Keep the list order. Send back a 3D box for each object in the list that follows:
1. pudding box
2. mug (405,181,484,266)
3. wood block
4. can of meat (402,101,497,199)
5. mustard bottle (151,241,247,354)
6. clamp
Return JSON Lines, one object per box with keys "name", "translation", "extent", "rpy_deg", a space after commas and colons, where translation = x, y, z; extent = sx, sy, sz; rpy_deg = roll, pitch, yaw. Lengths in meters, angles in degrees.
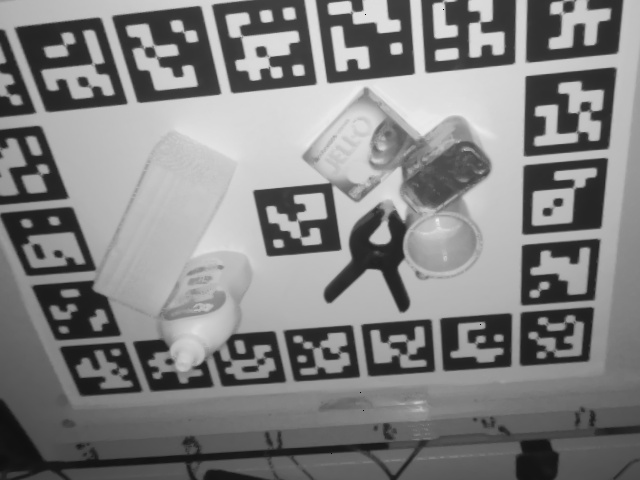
{"name": "pudding box", "translation": [0.044, -0.129, 0.800], "extent": [0.090, 0.039, 0.112], "rpy_deg": [41, 115, -17]}
{"name": "mug", "translation": [0.145, -0.024, 0.854], "extent": [0.093, 0.082, 0.116], "rpy_deg": [16, 117, -5]}
{"name": "wood block", "translation": [-0.199, -0.043, 0.834], "extent": [0.090, 0.092, 0.203], "rpy_deg": [28, 119, -14]}
{"name": "can of meat", "translation": [0.142, -0.104, 0.777], "extent": [0.101, 0.084, 0.058], "rpy_deg": [-32, 111, 19]}
{"name": "mustard bottle", "translation": [-0.149, 0.071, 0.831], "extent": [0.096, 0.193, 0.058], "rpy_deg": [-8, 118, 8]}
{"name": "clamp", "translation": [0.068, 0.014, 0.884], "extent": [0.122, 0.037, 0.163], "rpy_deg": [13, 117, -3]}
